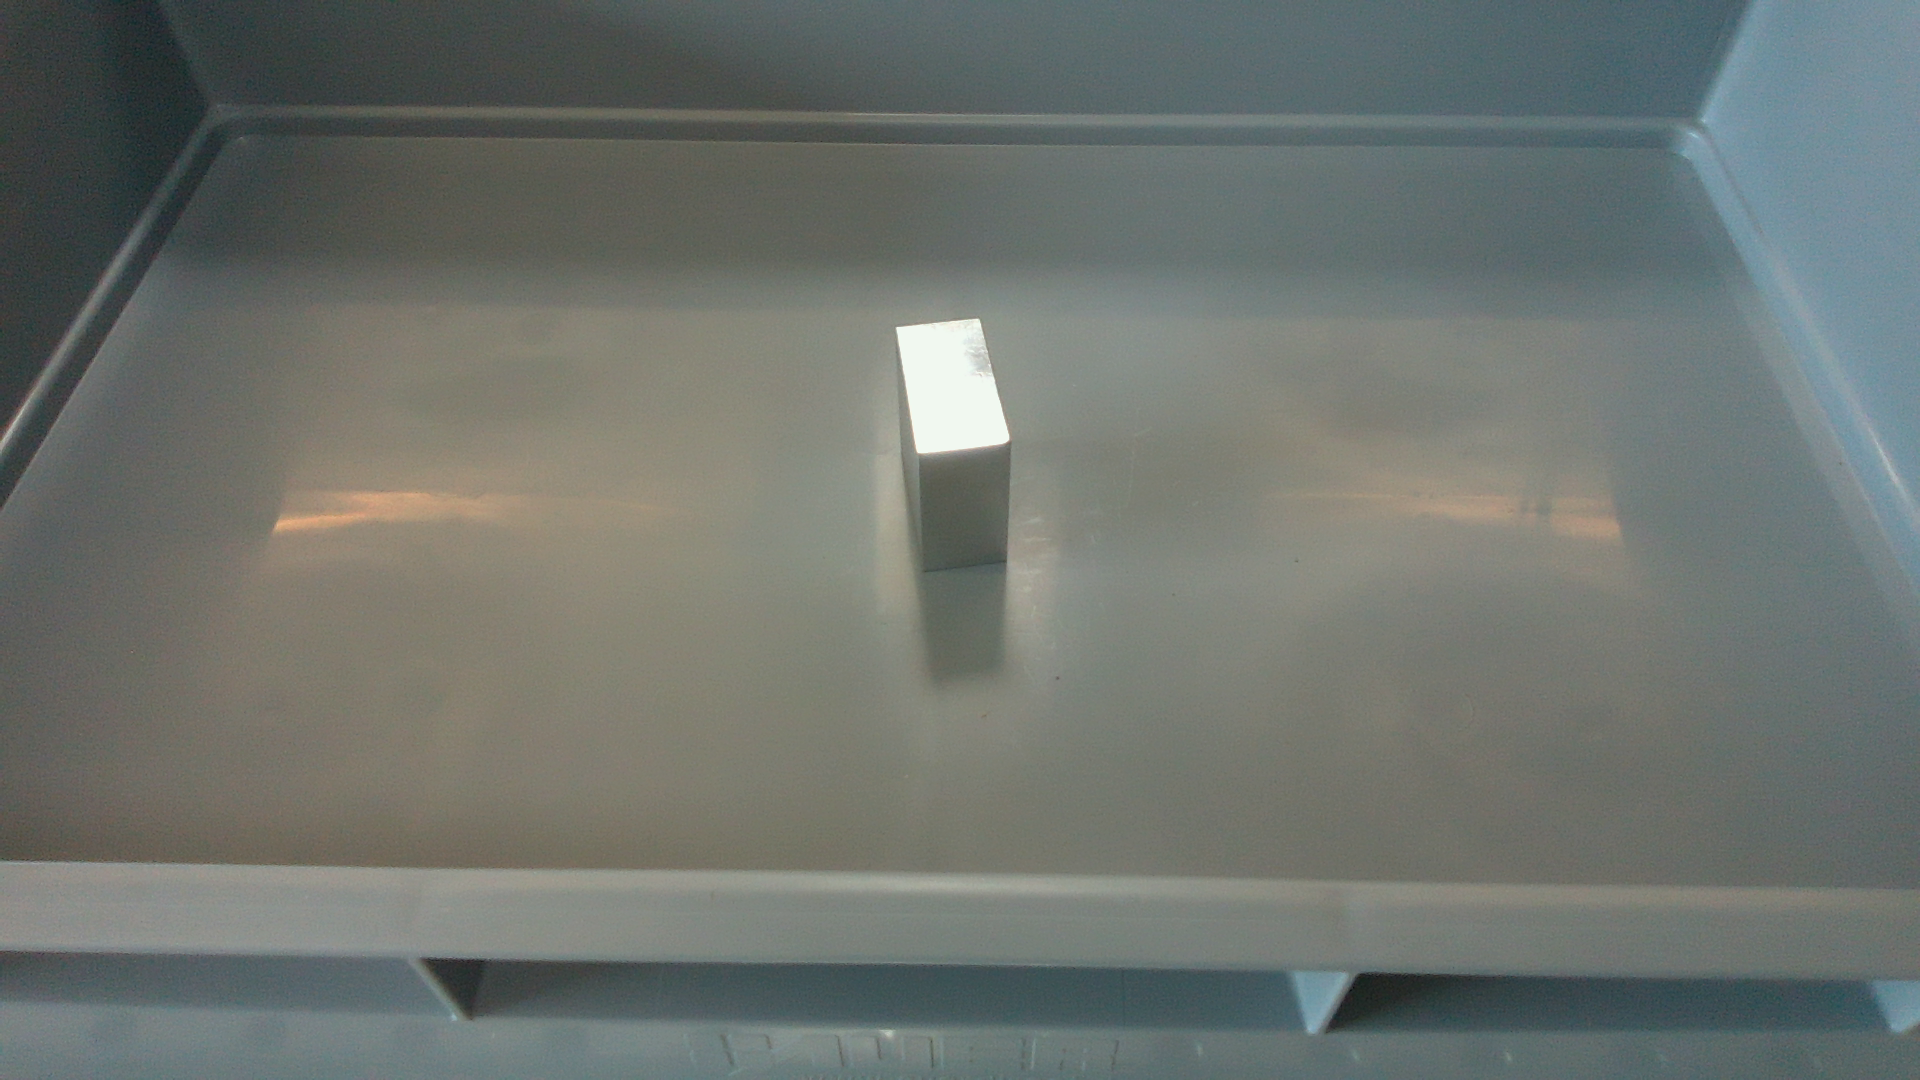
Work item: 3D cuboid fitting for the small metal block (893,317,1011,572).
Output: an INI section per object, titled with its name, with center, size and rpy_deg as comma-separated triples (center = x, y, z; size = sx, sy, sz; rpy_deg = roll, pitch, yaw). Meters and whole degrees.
[small metal block]
center = -0.003, -0.027, 0.394
size = 0.025, 0.050, 0.050
rpy_deg = -7, 50, -5
